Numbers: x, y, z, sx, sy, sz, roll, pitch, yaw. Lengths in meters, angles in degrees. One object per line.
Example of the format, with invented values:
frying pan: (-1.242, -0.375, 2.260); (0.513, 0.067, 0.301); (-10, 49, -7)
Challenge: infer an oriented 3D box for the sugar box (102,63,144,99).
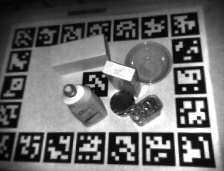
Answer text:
sugar box: (0.041, -0.009, 0.681); (0.092, 0.178, 0.045); (16, 77, 21)

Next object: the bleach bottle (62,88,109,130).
bleach bottle: (-0.086, 0.069, 0.643); (0.102, 0.253, 0.067); (-29, 66, 2)

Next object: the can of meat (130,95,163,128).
can of meat: (0.114, 0.085, 0.690); (0.102, 0.084, 0.057); (-32, 64, -2)

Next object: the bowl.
bowl: (0.133, -0.072, 0.753); (0.160, 0.056, 0.161); (-5, 69, 14)

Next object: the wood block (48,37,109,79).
wood block: (-0.123, -0.100, 0.800); (0.206, 0.090, 0.090); (-13, 73, 6)

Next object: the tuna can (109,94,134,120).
tuna can: (0.035, 0.074, 0.730); (0.085, 0.034, 0.085); (-3, 73, 11)
